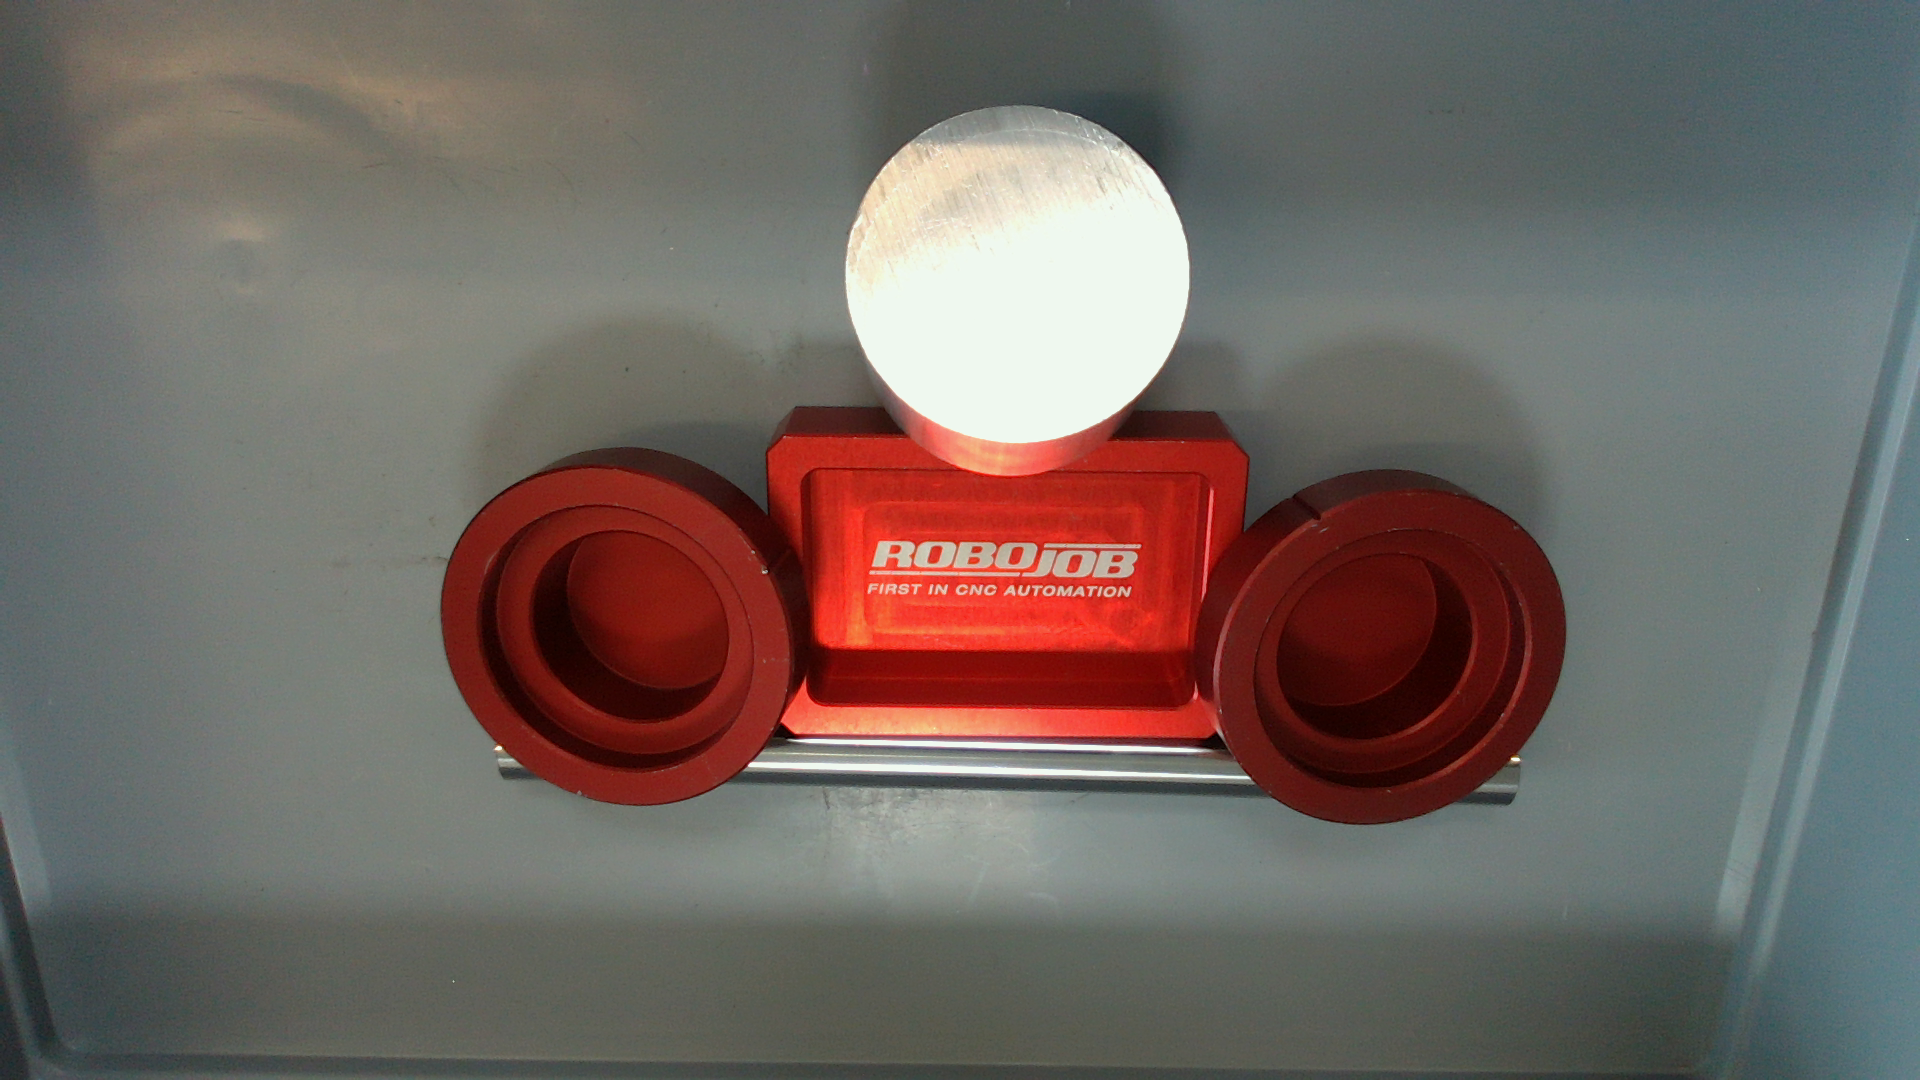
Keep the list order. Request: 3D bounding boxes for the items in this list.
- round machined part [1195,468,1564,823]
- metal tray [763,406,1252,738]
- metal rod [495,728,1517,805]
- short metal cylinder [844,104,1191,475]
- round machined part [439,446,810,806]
[{"bbox_3d":[0.114,0.027,0.388,0.098,0.042,0.098,-3,109,-7],"label":"round machined part"},{"bbox_3d":[0.012,0.010,0.393,0.130,0.030,0.090,0,111,-1],"label":"metal tray"},{"bbox_3d":[0.014,0.064,0.416,0.300,0.025,0.025,2,110,-1],"label":"metal rod"},{"bbox_3d":[0.013,-0.059,0.342,0.080,0.050,0.080,0,84,0],"label":"short metal cylinder"},{"bbox_3d":[-0.090,0.021,0.386,0.098,0.042,0.098,2,108,8],"label":"round machined part"}]
